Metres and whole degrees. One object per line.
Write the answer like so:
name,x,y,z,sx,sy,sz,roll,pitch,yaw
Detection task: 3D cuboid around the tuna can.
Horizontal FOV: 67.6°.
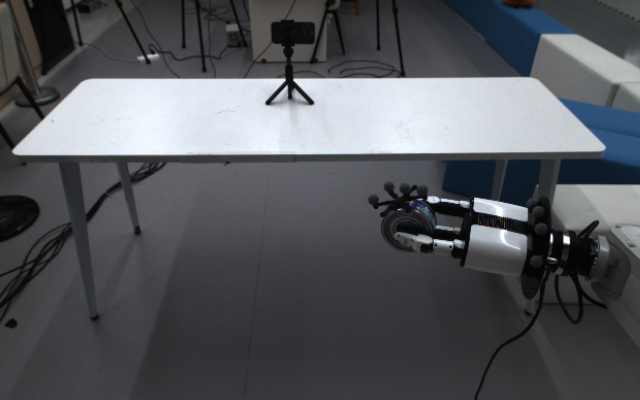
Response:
tuna can,0.143,0.040,0.773,0.085,0.085,0.034,11,34,13
